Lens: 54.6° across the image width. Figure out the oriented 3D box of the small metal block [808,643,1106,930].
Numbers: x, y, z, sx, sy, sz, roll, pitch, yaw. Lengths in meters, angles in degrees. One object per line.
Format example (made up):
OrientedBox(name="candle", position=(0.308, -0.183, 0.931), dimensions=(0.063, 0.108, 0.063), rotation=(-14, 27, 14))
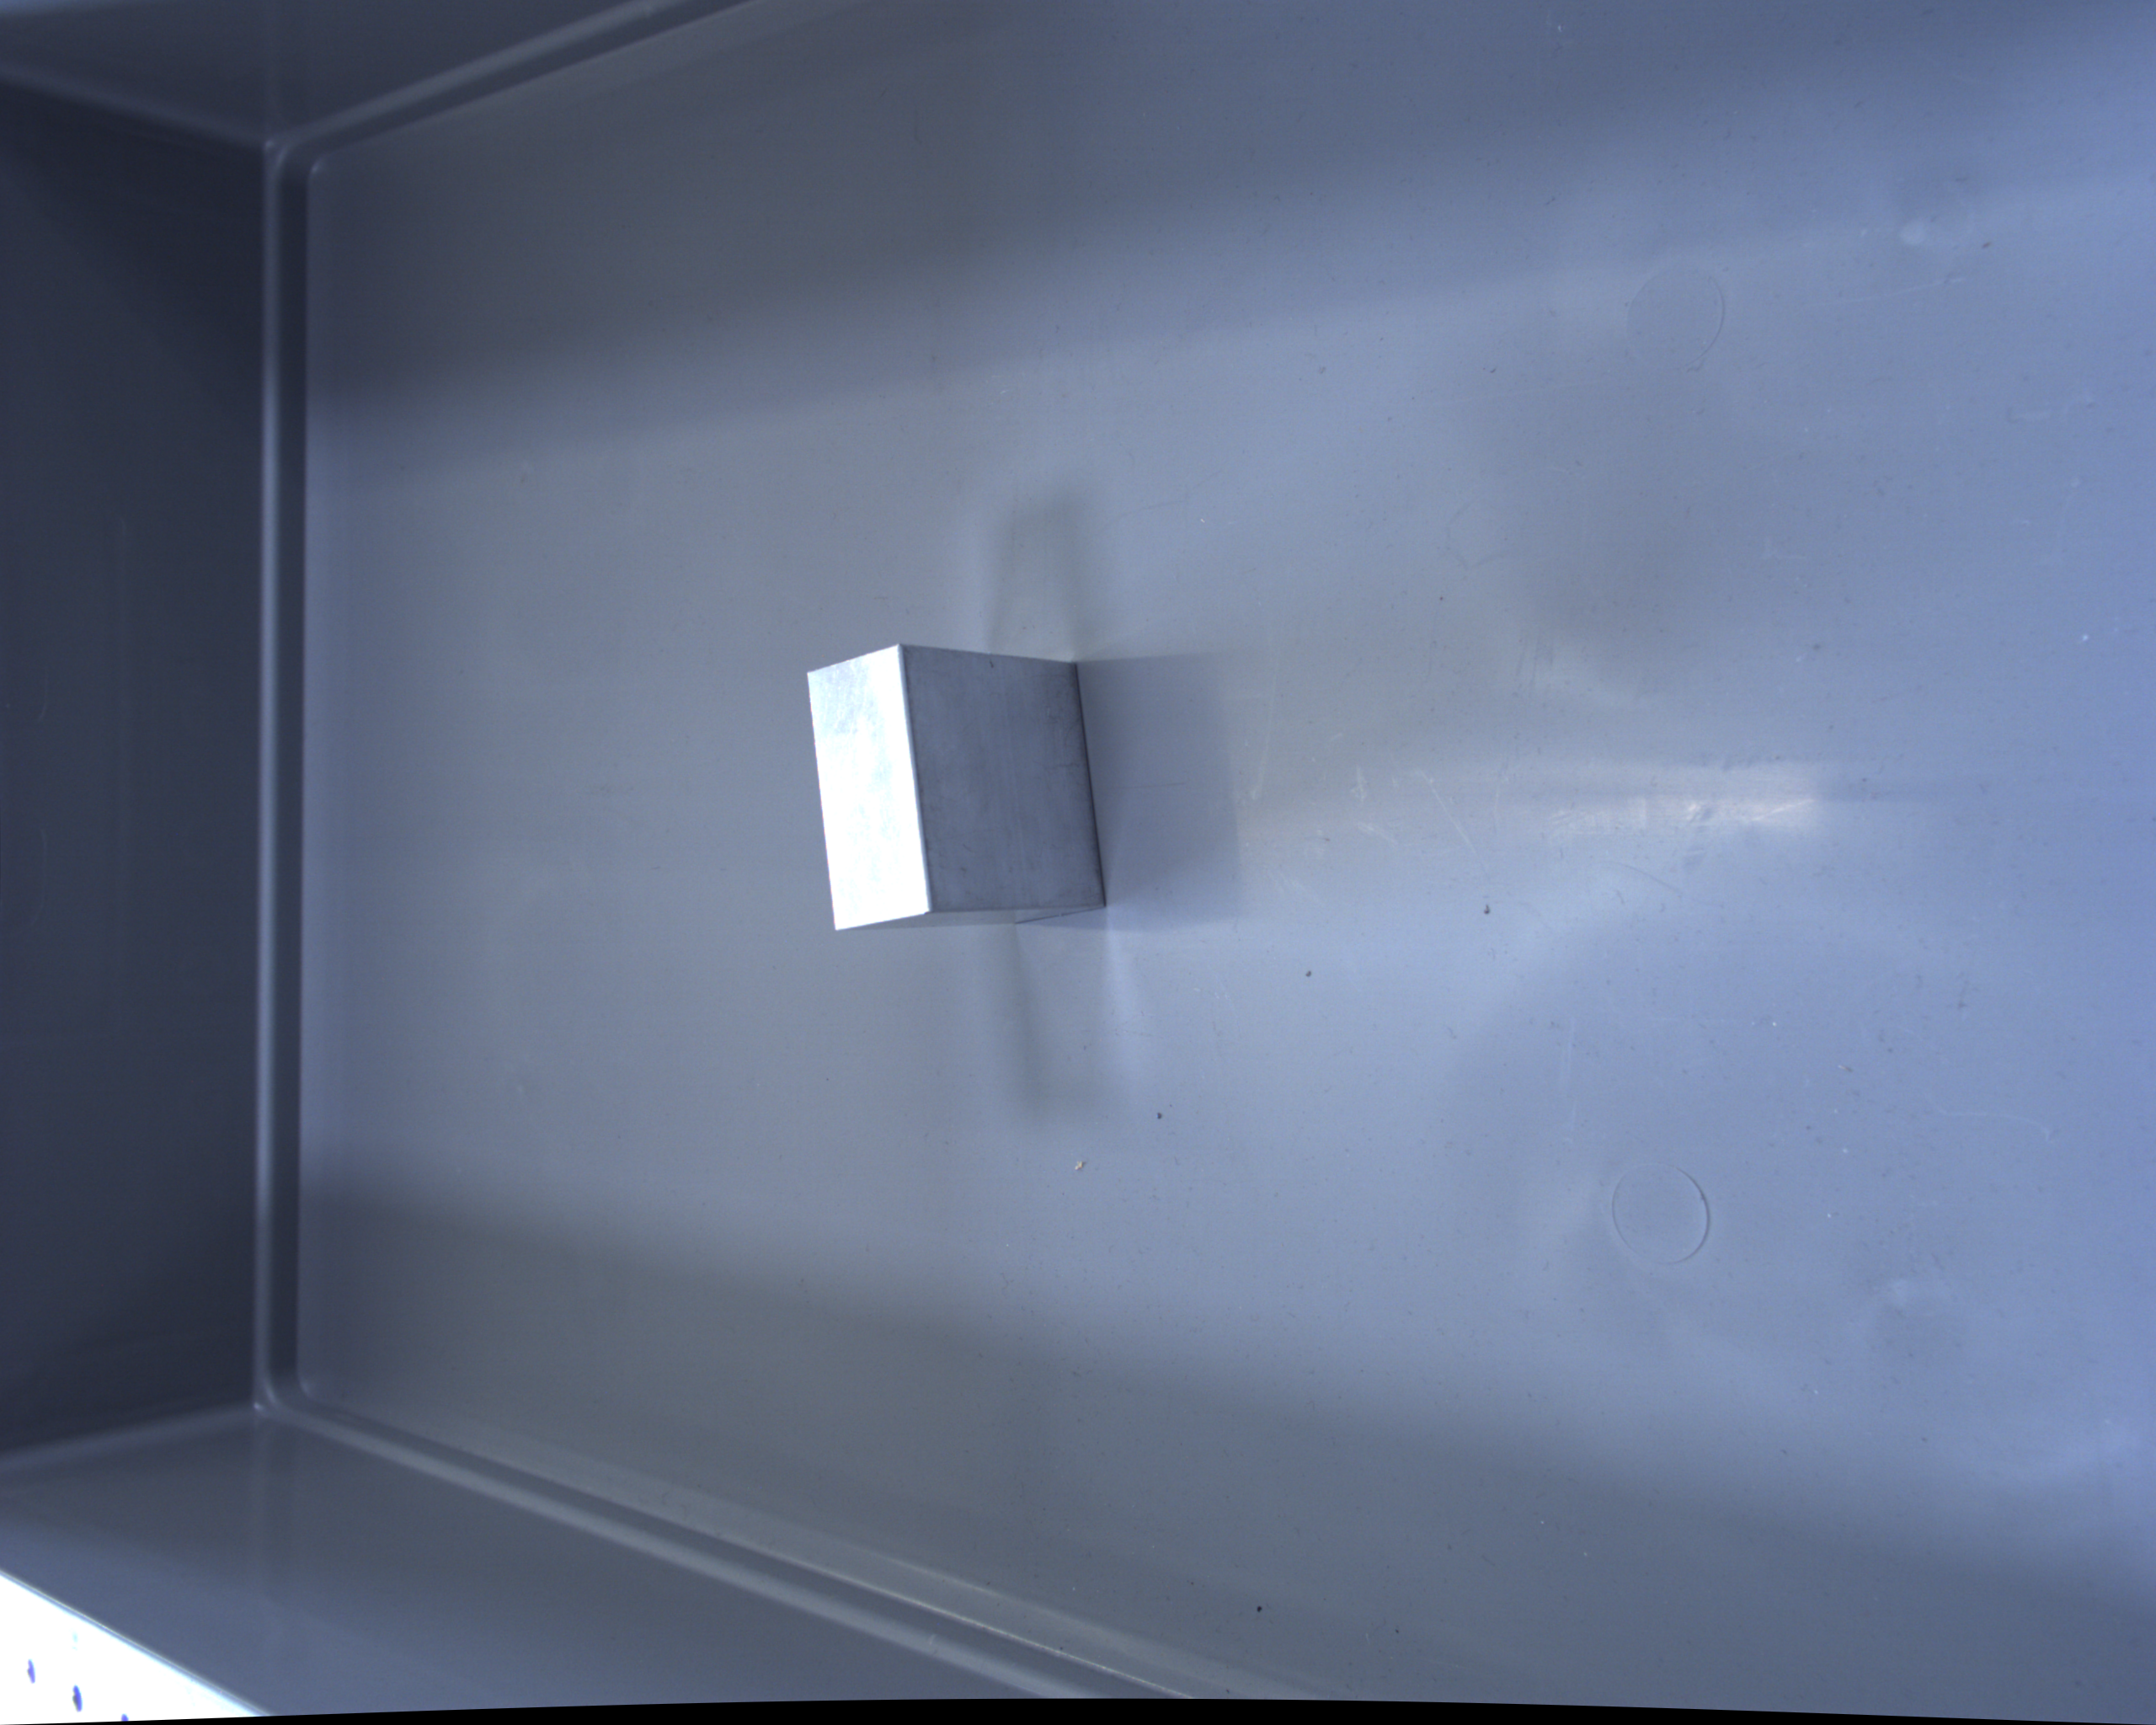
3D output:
OrientedBox(name="small metal block", position=(-0.023, -0.014, 0.406), dimensions=(0.025, 0.050, 0.050), rotation=(-11, 82, 40))
